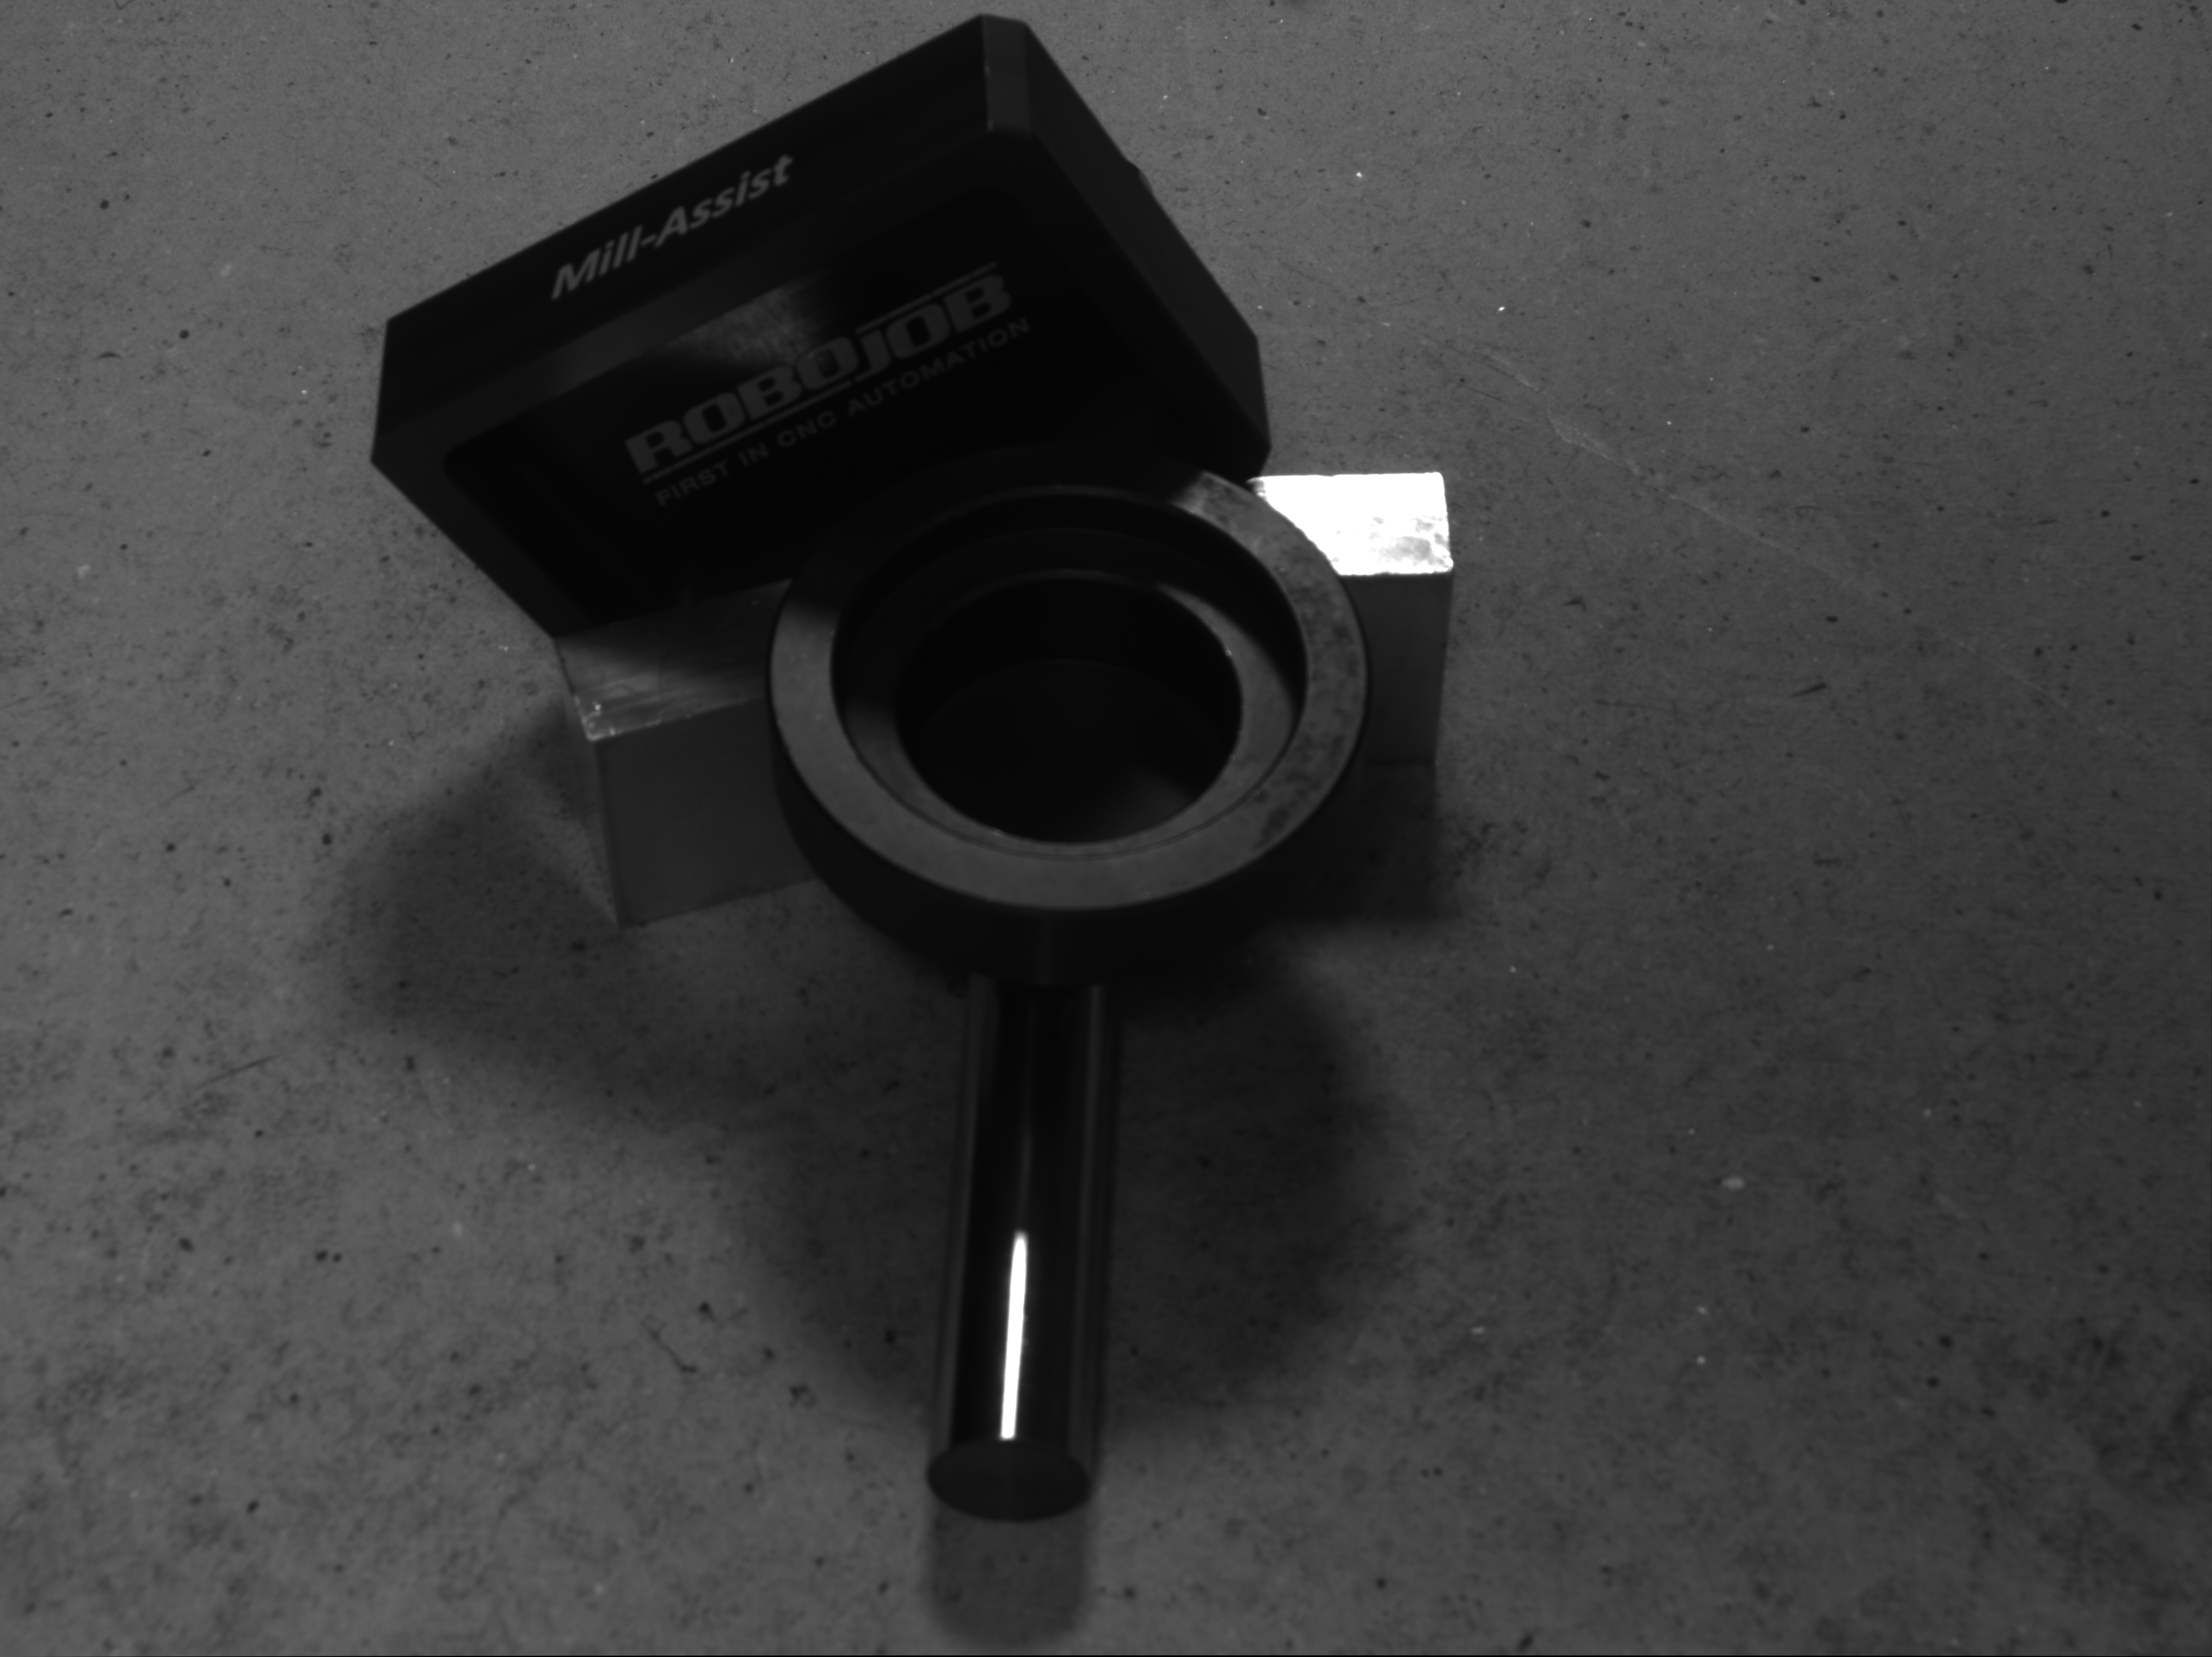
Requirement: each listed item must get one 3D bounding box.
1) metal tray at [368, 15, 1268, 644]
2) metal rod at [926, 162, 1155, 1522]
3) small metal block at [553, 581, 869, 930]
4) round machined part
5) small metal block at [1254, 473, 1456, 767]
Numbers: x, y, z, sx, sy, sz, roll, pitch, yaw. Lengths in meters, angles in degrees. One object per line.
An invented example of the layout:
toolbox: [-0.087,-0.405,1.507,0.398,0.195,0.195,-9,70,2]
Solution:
metal tray: [-0.049,-0.074,0.632,0.130,0.090,0.030,-23,45,20]
metal rod: [-0.009,-0.015,0.655,0.025,0.025,0.300,2,50,2]
small metal block: [-0.066,-0.014,0.637,0.050,0.050,0.025,-15,51,-12]
round machined part: [-0.006,-0.014,0.607,0.098,0.042,0.098,1,53,-1]
small metal block: [0.035,-0.037,0.657,0.050,0.050,0.025,-1,50,-1]
